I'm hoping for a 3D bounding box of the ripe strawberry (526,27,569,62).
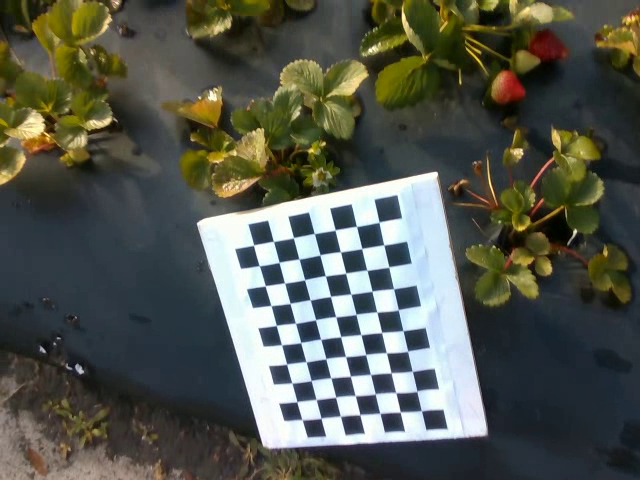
[{"bbox_3d":[0.326,-0.268,0.850,0.064,0.049,0.050,31,24,6],"label":"ripe strawberry"}]
